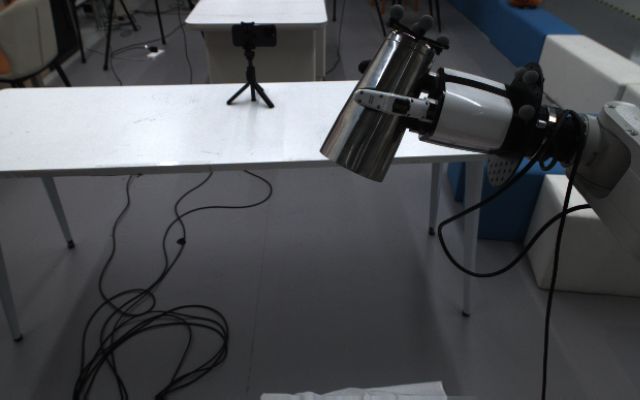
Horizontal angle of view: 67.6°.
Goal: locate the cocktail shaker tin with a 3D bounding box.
[{"bbox_3d":[0.079,-0.122,0.610,0.093,0.170,0.093,24,12,-6],"label":"cocktail shaker tin"}]
